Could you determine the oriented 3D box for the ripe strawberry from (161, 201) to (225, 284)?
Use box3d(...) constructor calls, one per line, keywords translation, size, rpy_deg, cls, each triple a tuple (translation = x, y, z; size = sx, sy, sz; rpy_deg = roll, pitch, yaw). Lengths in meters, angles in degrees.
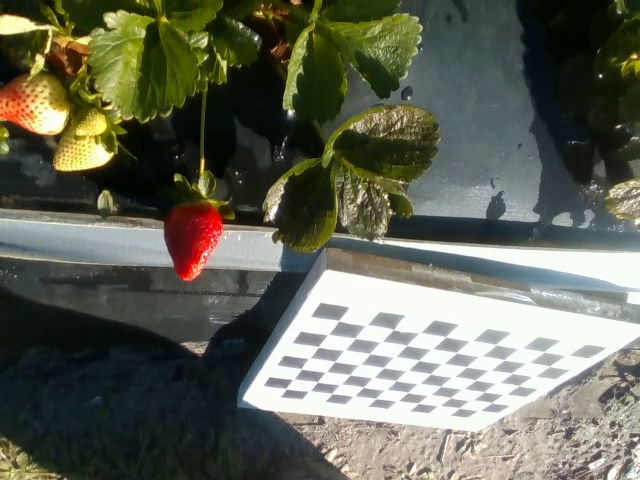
box3d(translation=(-0.068, 0.000, 0.312), size=(0.036, 0.046, 0.038), rpy_deg=(13, -24, -13), cls="ripe strawberry")
